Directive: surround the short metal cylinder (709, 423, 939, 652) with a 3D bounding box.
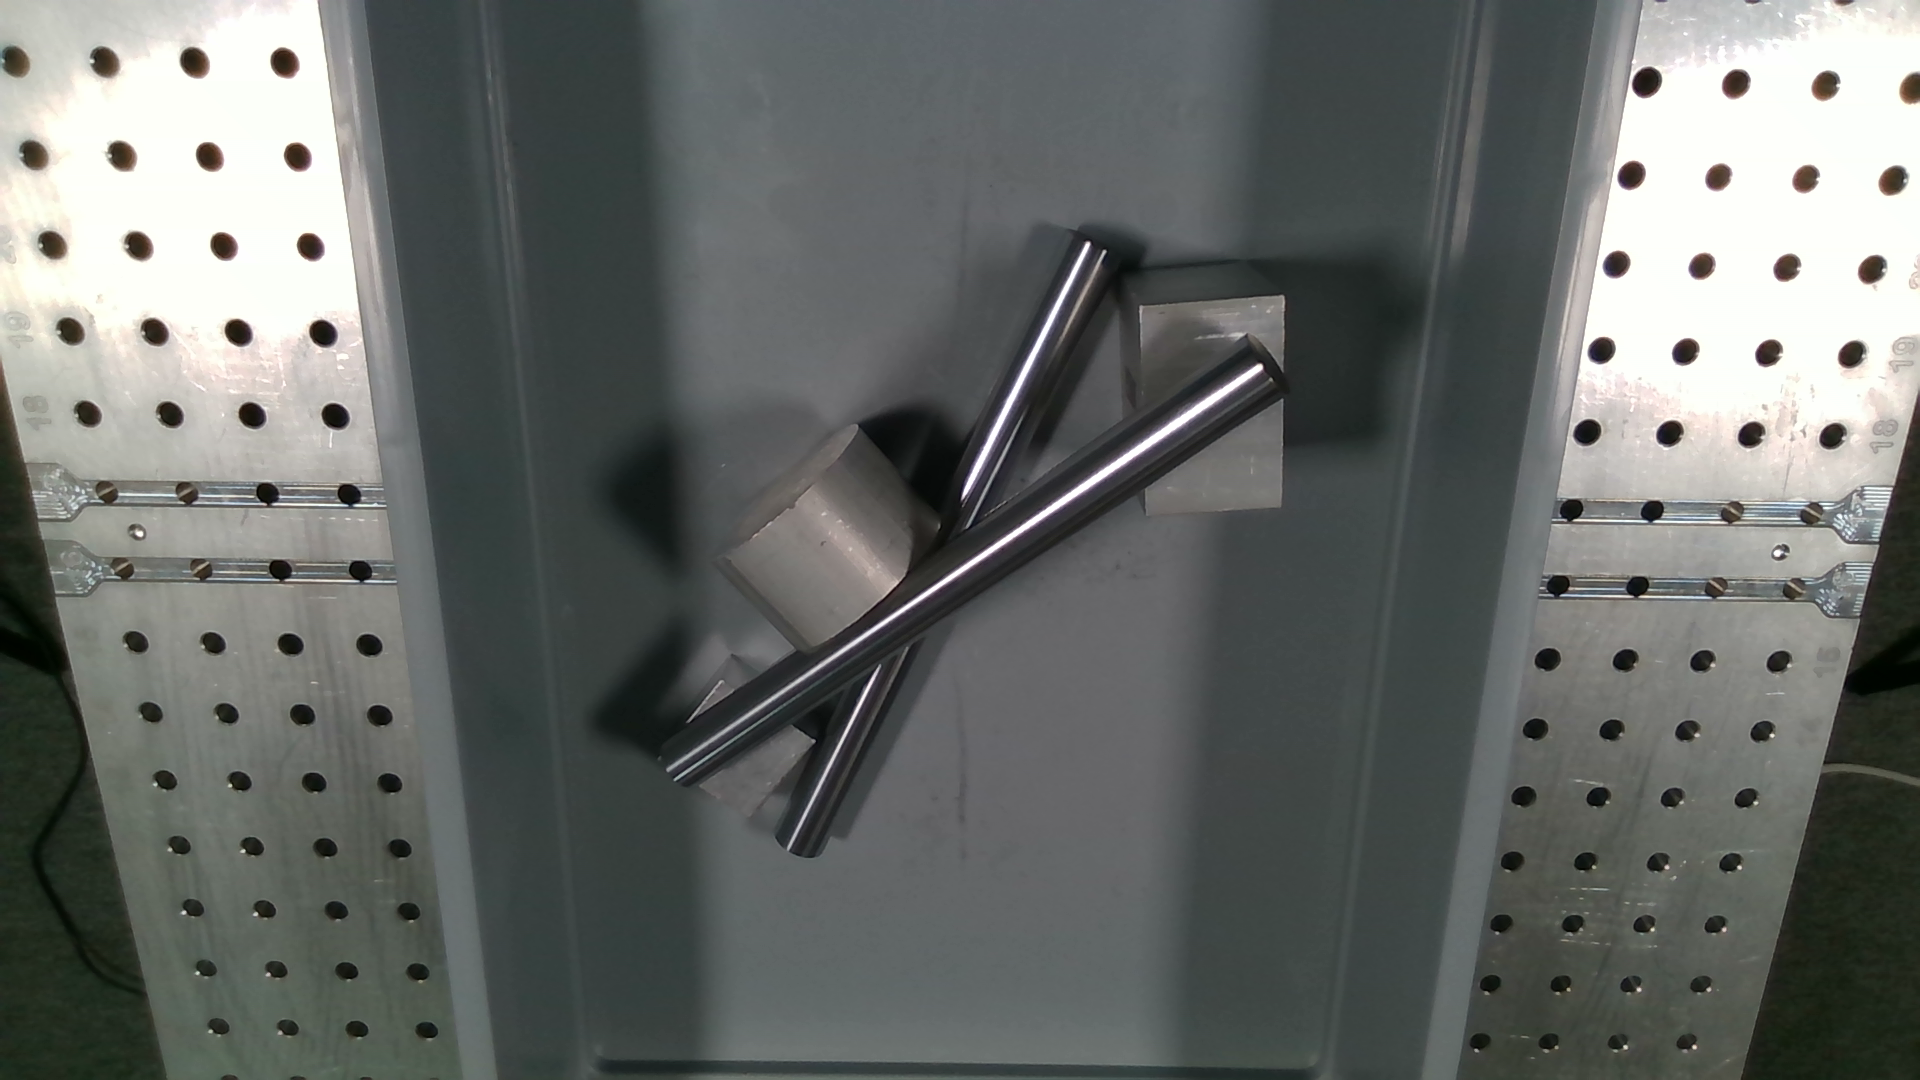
[{"bbox_3d":[-0.055,-0.001,0.553,0.080,0.080,0.050,-38,106,13],"label":"short metal cylinder"}]

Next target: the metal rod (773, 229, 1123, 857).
[{"bbox_3d":[-0.011,0.011,0.588,0.025,0.025,0.301,24,109,-8],"label":"metal rod"}]

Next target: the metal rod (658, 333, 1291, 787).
[{"bbox_3d":[-0.008,0.017,0.528,0.300,0.025,0.025,-35,107,25],"label":"metal rod"}]

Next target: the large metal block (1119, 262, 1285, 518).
[{"bbox_3d":[0.091,-0.061,0.532,0.050,0.080,0.080,-4,110,1],"label":"large metal block"}]

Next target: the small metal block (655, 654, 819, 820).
[{"bbox_3d":[-0.099,0.088,0.616,0.050,0.025,0.050,36,106,-12],"label":"small metal block"}]
